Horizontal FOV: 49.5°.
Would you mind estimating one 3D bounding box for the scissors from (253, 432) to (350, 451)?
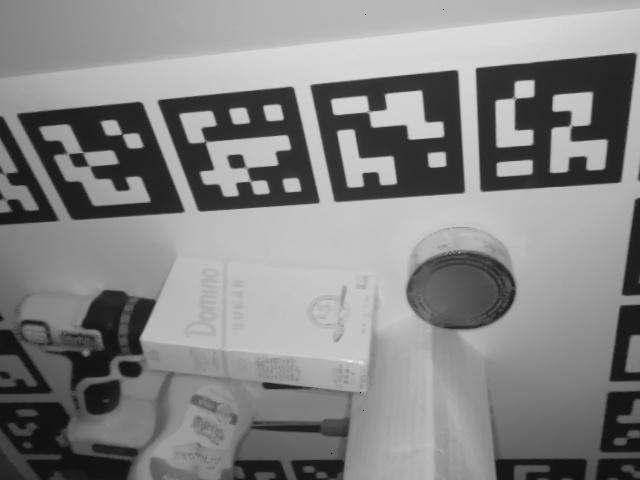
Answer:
[{"bbox_3d":[0.030,0.206,0.717,0.202,0.016,0.087,-1,129,7],"label":"scissors"}]

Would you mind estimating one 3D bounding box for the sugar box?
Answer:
[{"bbox_3d":[-0.045,0.066,0.583,0.176,0.094,0.045,8,129,3],"label":"sugar box"}]

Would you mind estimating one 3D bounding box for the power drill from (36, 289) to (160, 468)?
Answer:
[{"bbox_3d":[-0.172,0.134,0.664,0.185,0.058,0.185,8,118,1],"label":"power drill"}]

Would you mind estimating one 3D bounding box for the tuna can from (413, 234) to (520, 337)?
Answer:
[{"bbox_3d":[0.120,0.038,0.575,0.085,0.034,0.085,3,124,5],"label":"tuna can"}]

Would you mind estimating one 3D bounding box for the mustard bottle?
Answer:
[{"bbox_3d":[-0.124,0.207,0.638,0.096,0.193,0.057,39,120,-18],"label":"mustard bottle"}]

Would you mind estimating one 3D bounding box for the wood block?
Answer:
[{"bbox_3d":[0.086,0.170,0.581,0.090,0.208,0.090,-28,116,24],"label":"wood block"}]
